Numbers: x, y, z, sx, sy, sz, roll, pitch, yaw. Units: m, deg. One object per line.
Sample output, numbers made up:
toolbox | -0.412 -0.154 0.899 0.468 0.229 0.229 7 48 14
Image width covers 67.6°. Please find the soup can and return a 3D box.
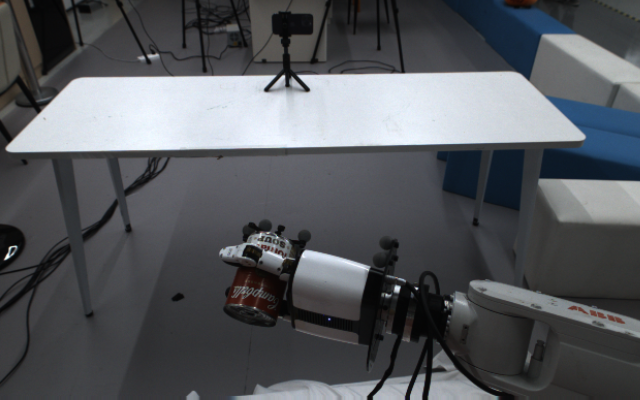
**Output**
soup can | -0.072 0.099 0.605 0.067 0.067 0.101 9 58 10
